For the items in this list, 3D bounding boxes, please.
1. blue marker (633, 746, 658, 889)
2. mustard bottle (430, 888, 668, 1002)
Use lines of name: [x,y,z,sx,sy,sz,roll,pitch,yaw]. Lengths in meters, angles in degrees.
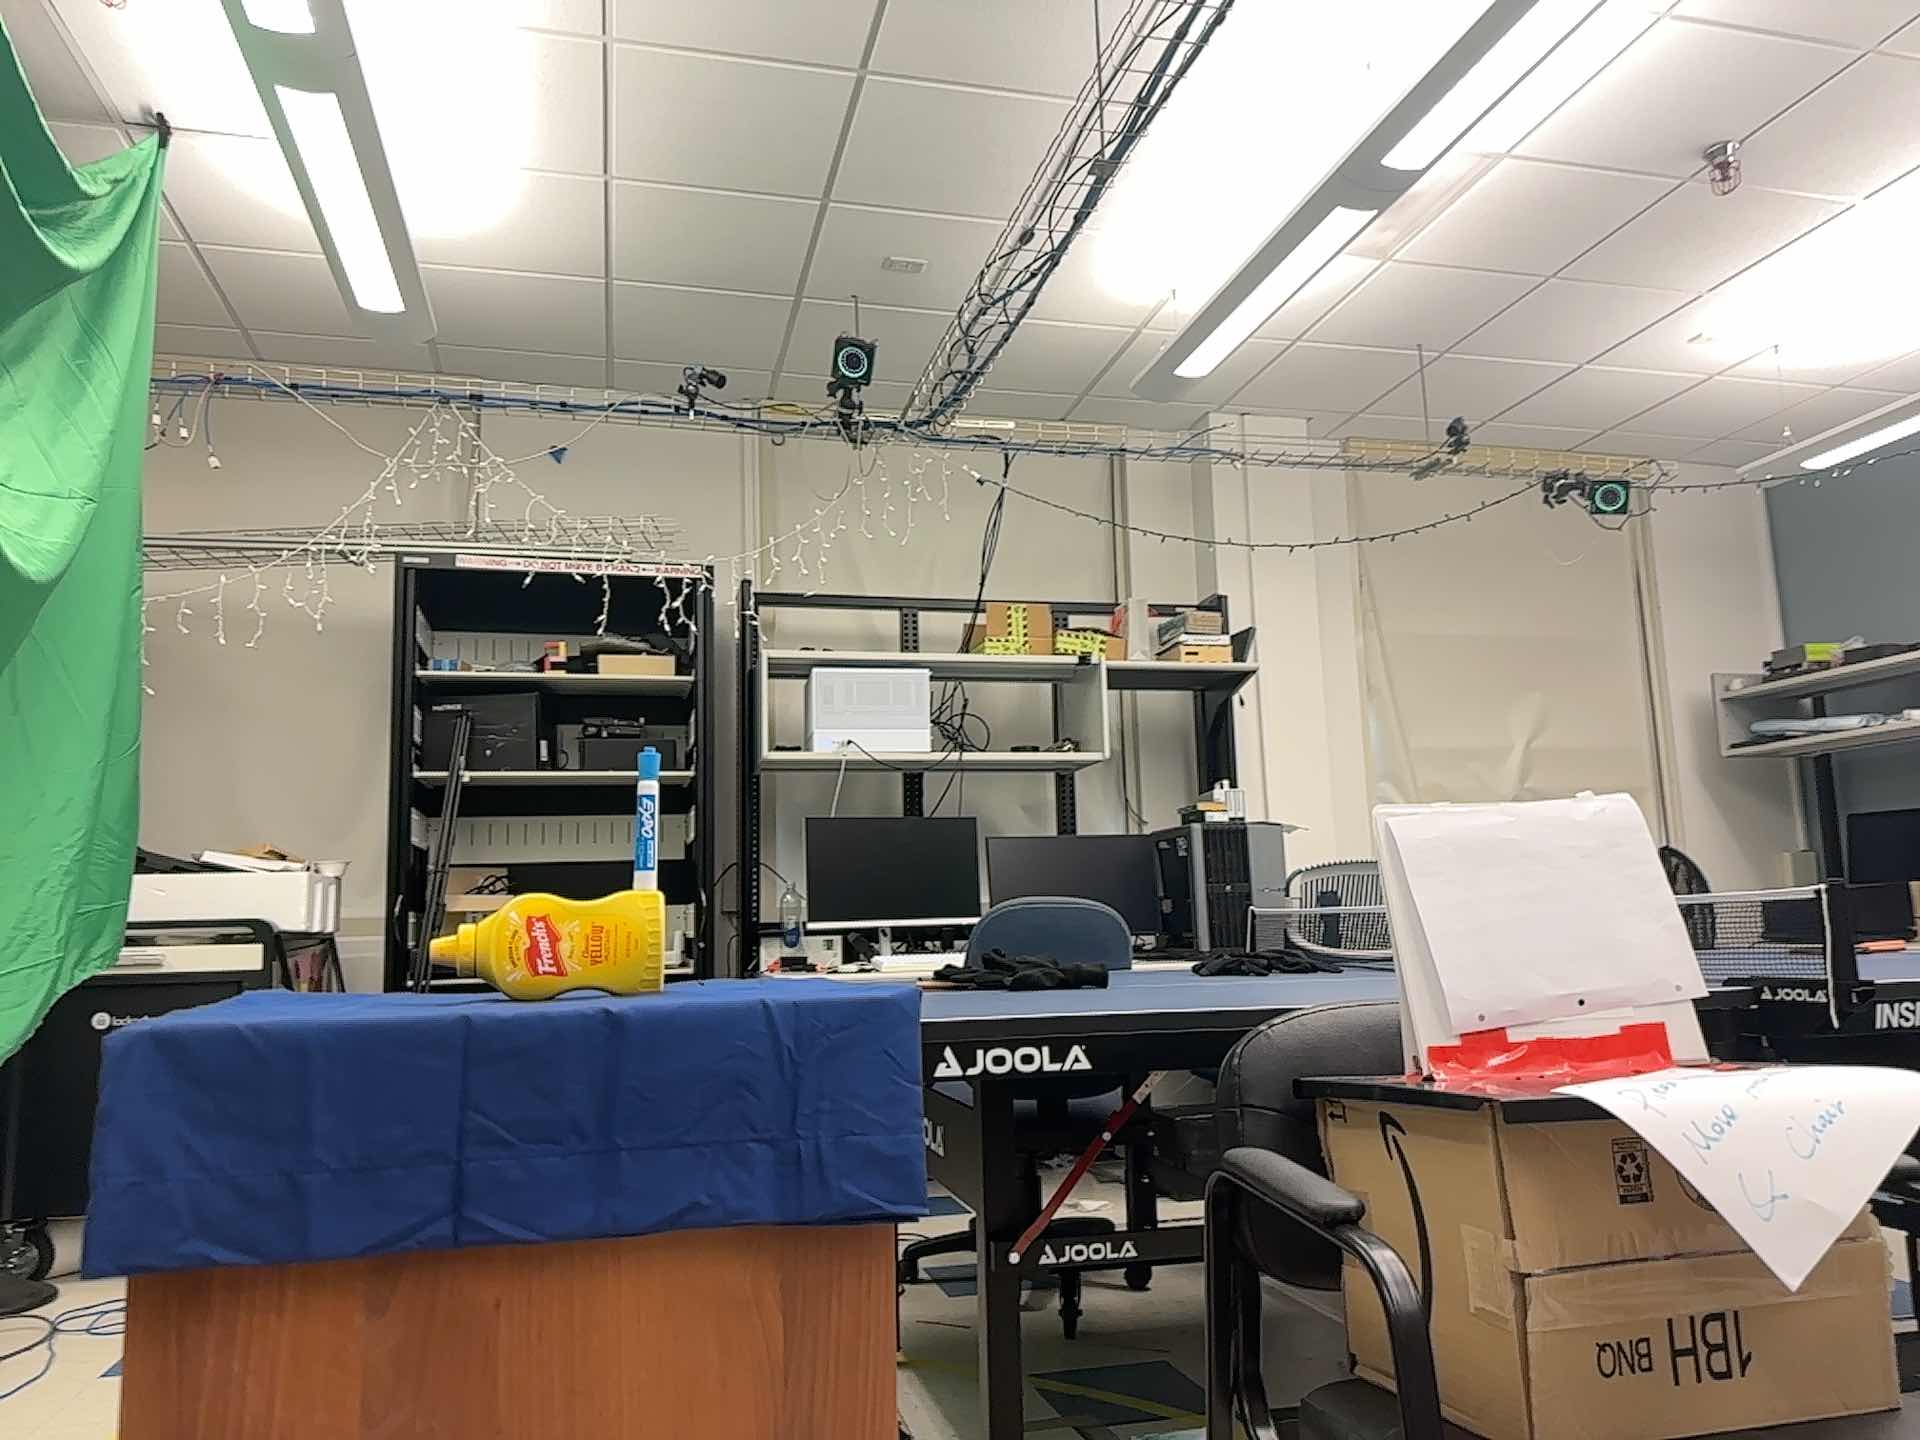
blue marker: [-0.268,0.082,1.145,0.020,0.121,0.020,-2,-10,0]
mustard bottle: [-0.336,0.185,1.106,0.184,0.092,0.054,2,-2,-20]
